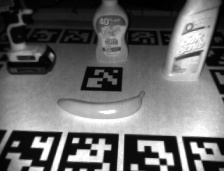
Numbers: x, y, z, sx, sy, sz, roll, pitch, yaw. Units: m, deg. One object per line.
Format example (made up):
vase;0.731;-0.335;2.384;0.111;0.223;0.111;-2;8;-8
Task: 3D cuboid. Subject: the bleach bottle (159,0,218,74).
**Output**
bleach bottle;0.177;-0.143;0.512;0.102;0.252;0.068;7;45;9

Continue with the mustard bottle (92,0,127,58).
mustard bottle;-0.008;-0.168;0.588;0.096;0.192;0.058;-4;44;-4

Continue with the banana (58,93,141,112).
banana;-0.023;0.027;0.480;0.197;0.039;0.074;-4;46;1

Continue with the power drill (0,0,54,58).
power drill;-0.201;-0.162;0.539;0.184;0.188;0.057;-6;44;1
